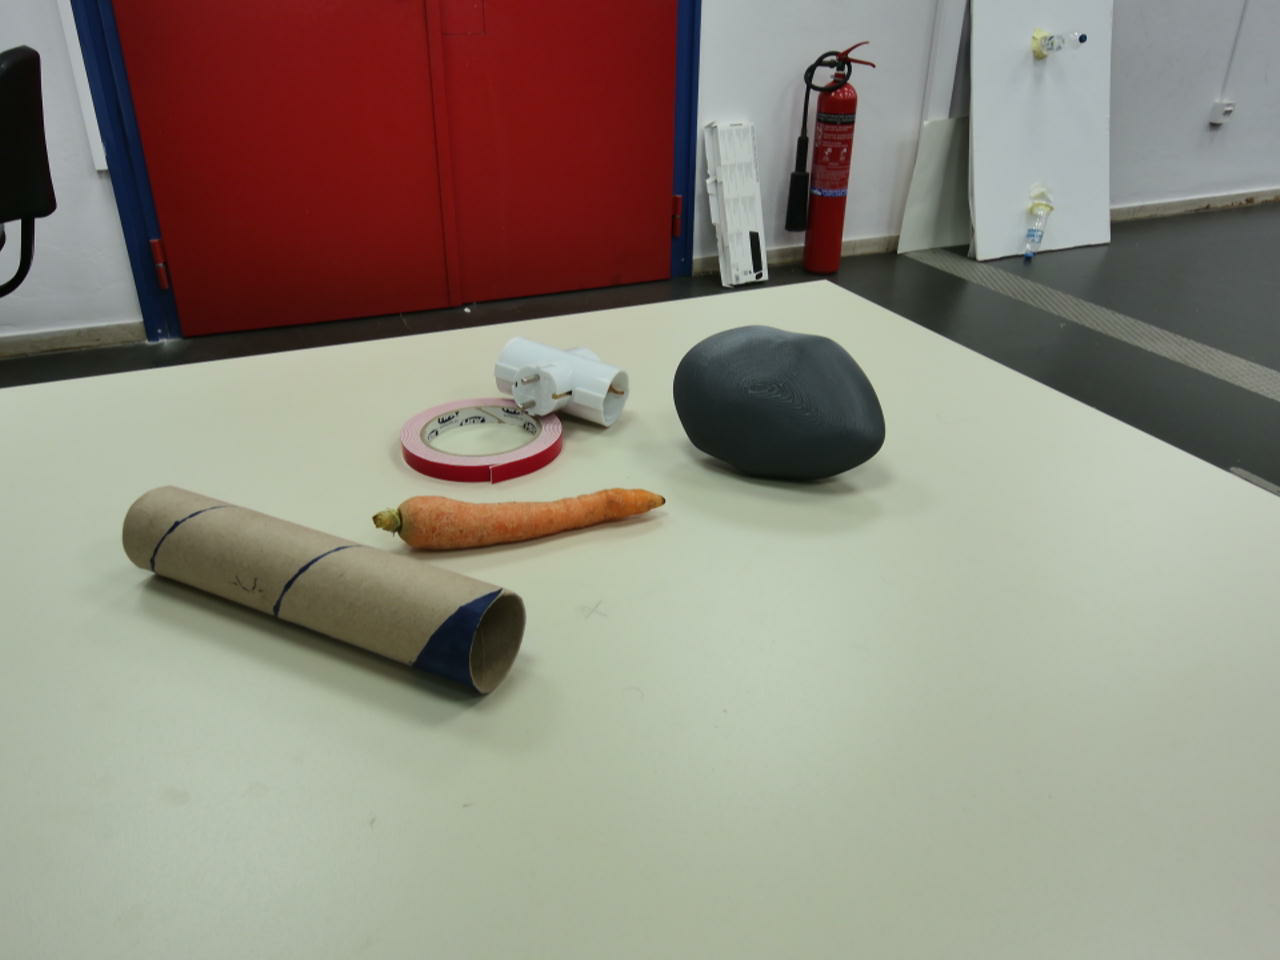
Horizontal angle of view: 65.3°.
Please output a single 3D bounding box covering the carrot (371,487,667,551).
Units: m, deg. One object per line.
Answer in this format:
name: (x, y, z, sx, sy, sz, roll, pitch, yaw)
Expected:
carrot: (-0.065, 0.018, 0.574, 0.173, 0.032, 0.030, -6, 27, -14)
